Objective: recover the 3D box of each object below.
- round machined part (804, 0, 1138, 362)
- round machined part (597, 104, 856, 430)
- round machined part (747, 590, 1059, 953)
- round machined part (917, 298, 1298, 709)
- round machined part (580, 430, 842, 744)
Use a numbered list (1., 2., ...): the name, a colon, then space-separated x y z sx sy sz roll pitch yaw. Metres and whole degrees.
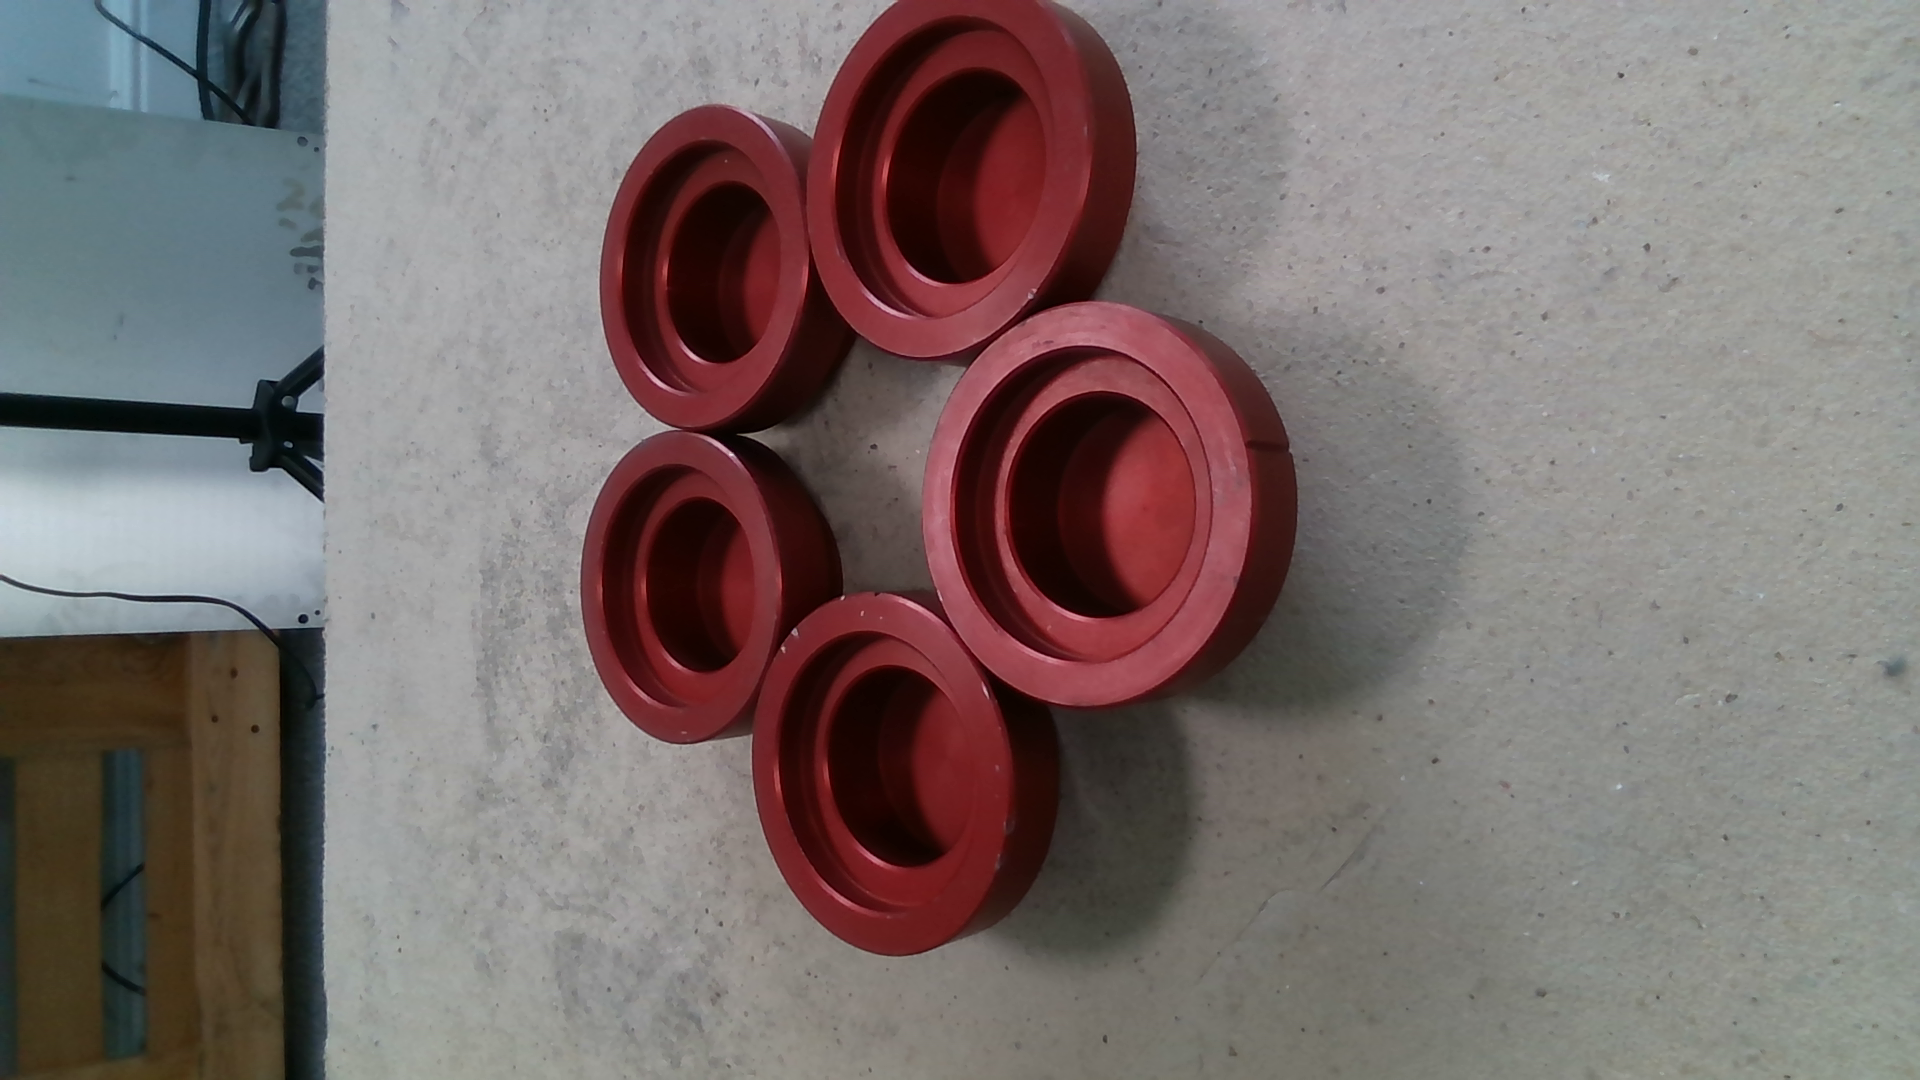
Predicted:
1. round machined part: 0.007 -0.097 0.373 0.098 0.042 0.098 1 91 39
2. round machined part: -0.068 -0.083 0.436 0.098 0.042 0.098 1 92 39
3. round machined part: -0.012 0.062 0.389 0.098 0.042 0.098 1 92 39
4. round machined part: 0.040 -0.009 0.345 0.098 0.042 0.098 1 92 39
5. round machined part: -0.077 0.014 0.445 0.098 0.042 0.098 1 92 40
